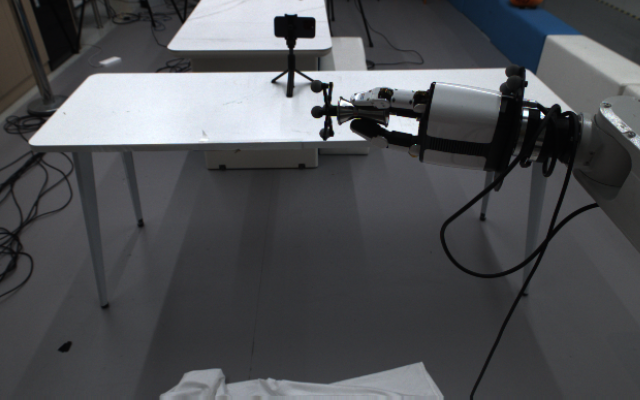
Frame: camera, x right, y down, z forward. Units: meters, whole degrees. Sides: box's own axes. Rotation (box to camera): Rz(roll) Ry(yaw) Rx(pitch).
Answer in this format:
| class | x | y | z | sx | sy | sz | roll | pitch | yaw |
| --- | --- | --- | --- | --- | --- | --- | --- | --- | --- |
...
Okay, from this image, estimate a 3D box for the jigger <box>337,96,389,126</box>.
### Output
| class | x | y | z | sx | sy | sz | roll | pitch | yaw |
| --- | --- | --- | --- | --- | --- | --- | --- | --- | --- |
| jigger | 0.068 | -0.128 | 0.679 | 0.071 | 0.043 | 0.043 | 3 | 34 | 14 |
